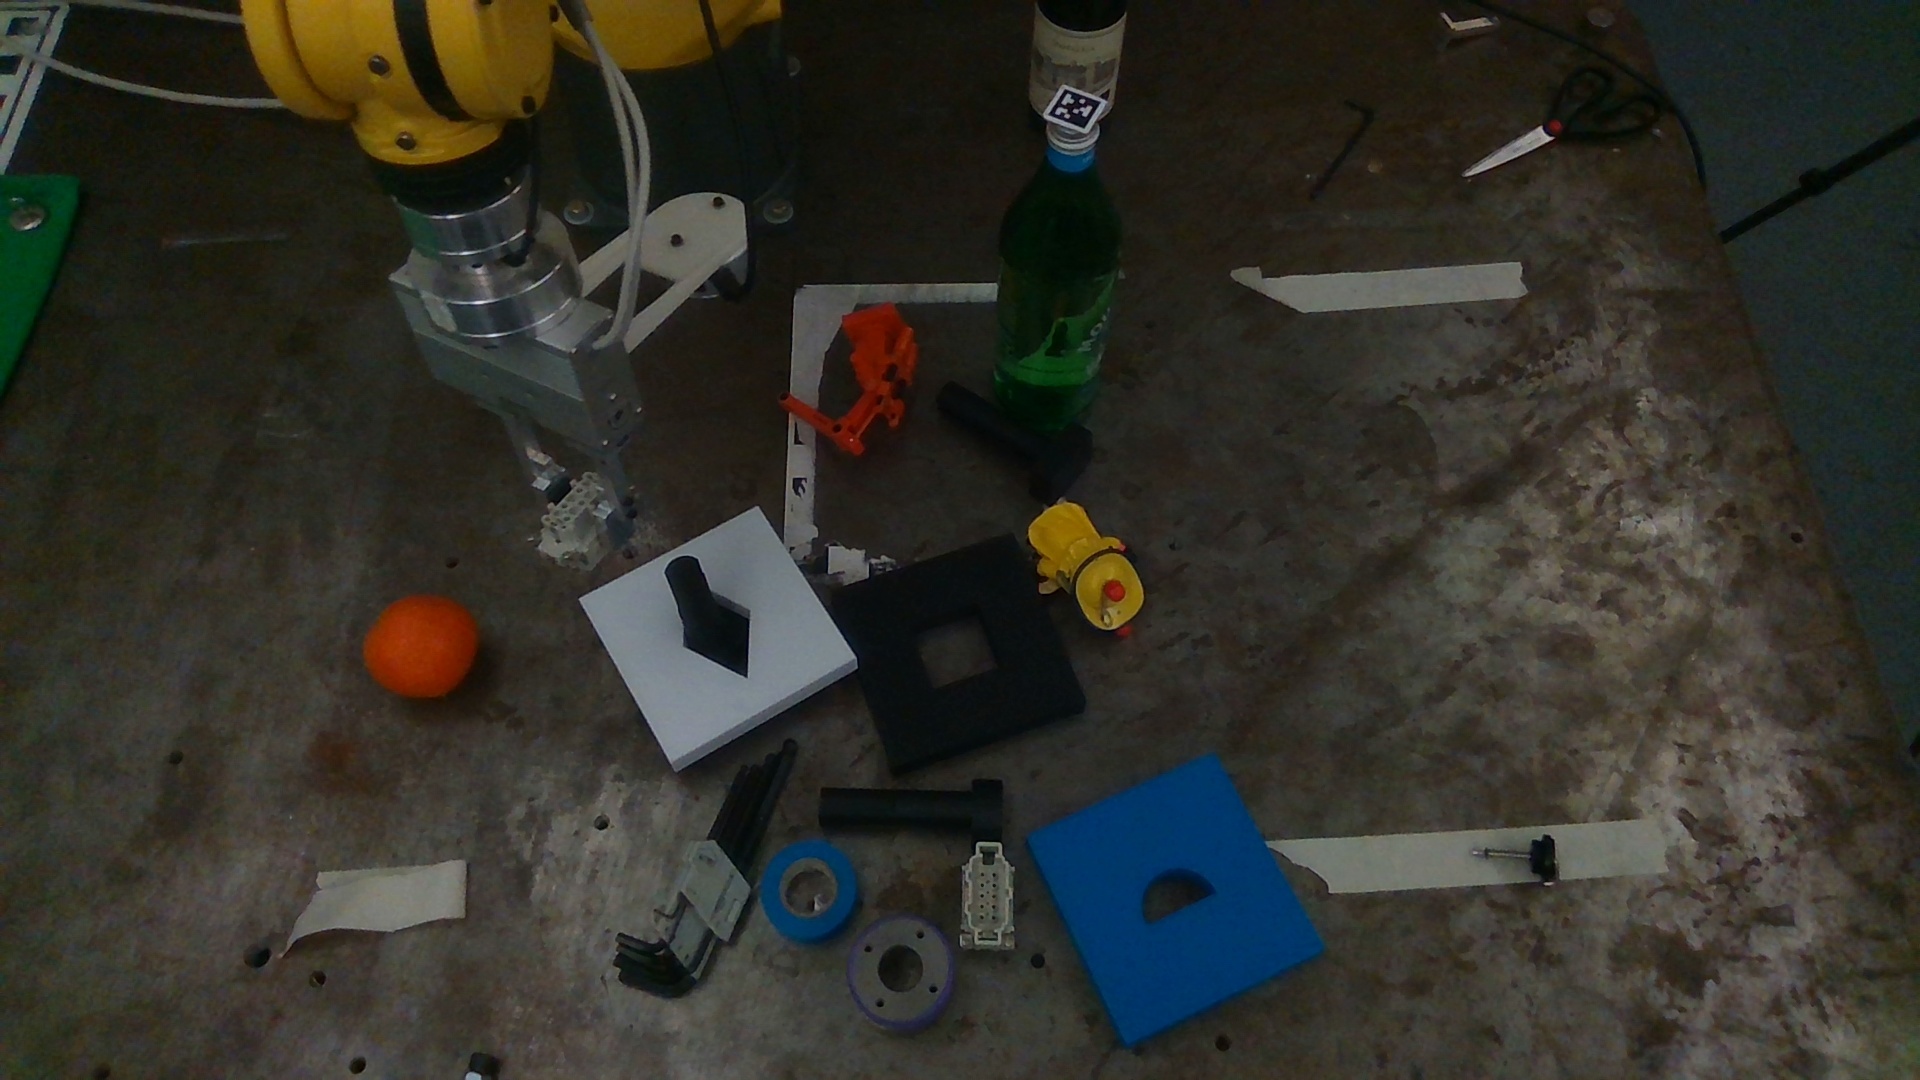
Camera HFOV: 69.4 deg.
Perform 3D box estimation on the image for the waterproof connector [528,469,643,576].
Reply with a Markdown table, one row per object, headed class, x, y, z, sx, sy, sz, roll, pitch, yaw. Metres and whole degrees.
| class | x | y | z | sx | sy | sz | roll | pitch | yaw |
| --- | --- | --- | --- | --- | --- | --- | --- | --- | --- |
| waterproof connector | -0.218 | -0.011 | 0.813 | 0.037 | 0.038 | 0.069 | 17 | 51 | 27 |
